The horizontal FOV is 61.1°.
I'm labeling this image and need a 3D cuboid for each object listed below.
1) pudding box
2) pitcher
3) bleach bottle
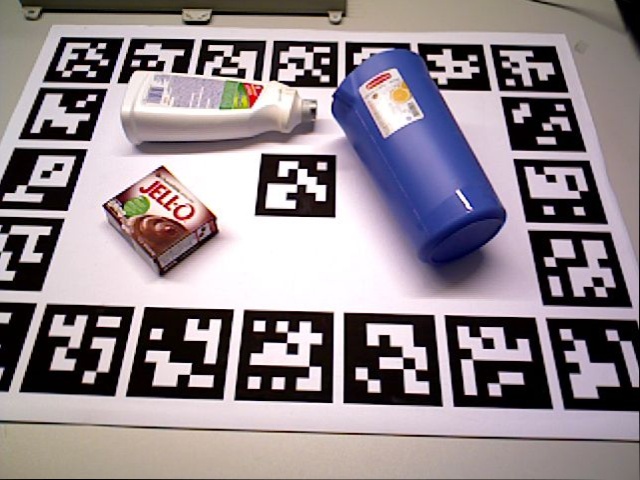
[{"bbox_3d":[-0.199,-0.023,0.642,0.088,0.039,0.113,-36,67,-26],"label":"pudding box"},{"bbox_3d":[0.121,-0.084,0.649,0.185,0.136,0.241,-2,58,-42],"label":"pitcher"},{"bbox_3d":[-0.136,-0.174,0.721,0.249,0.069,0.101,0,64,-2],"label":"bleach bottle"}]
